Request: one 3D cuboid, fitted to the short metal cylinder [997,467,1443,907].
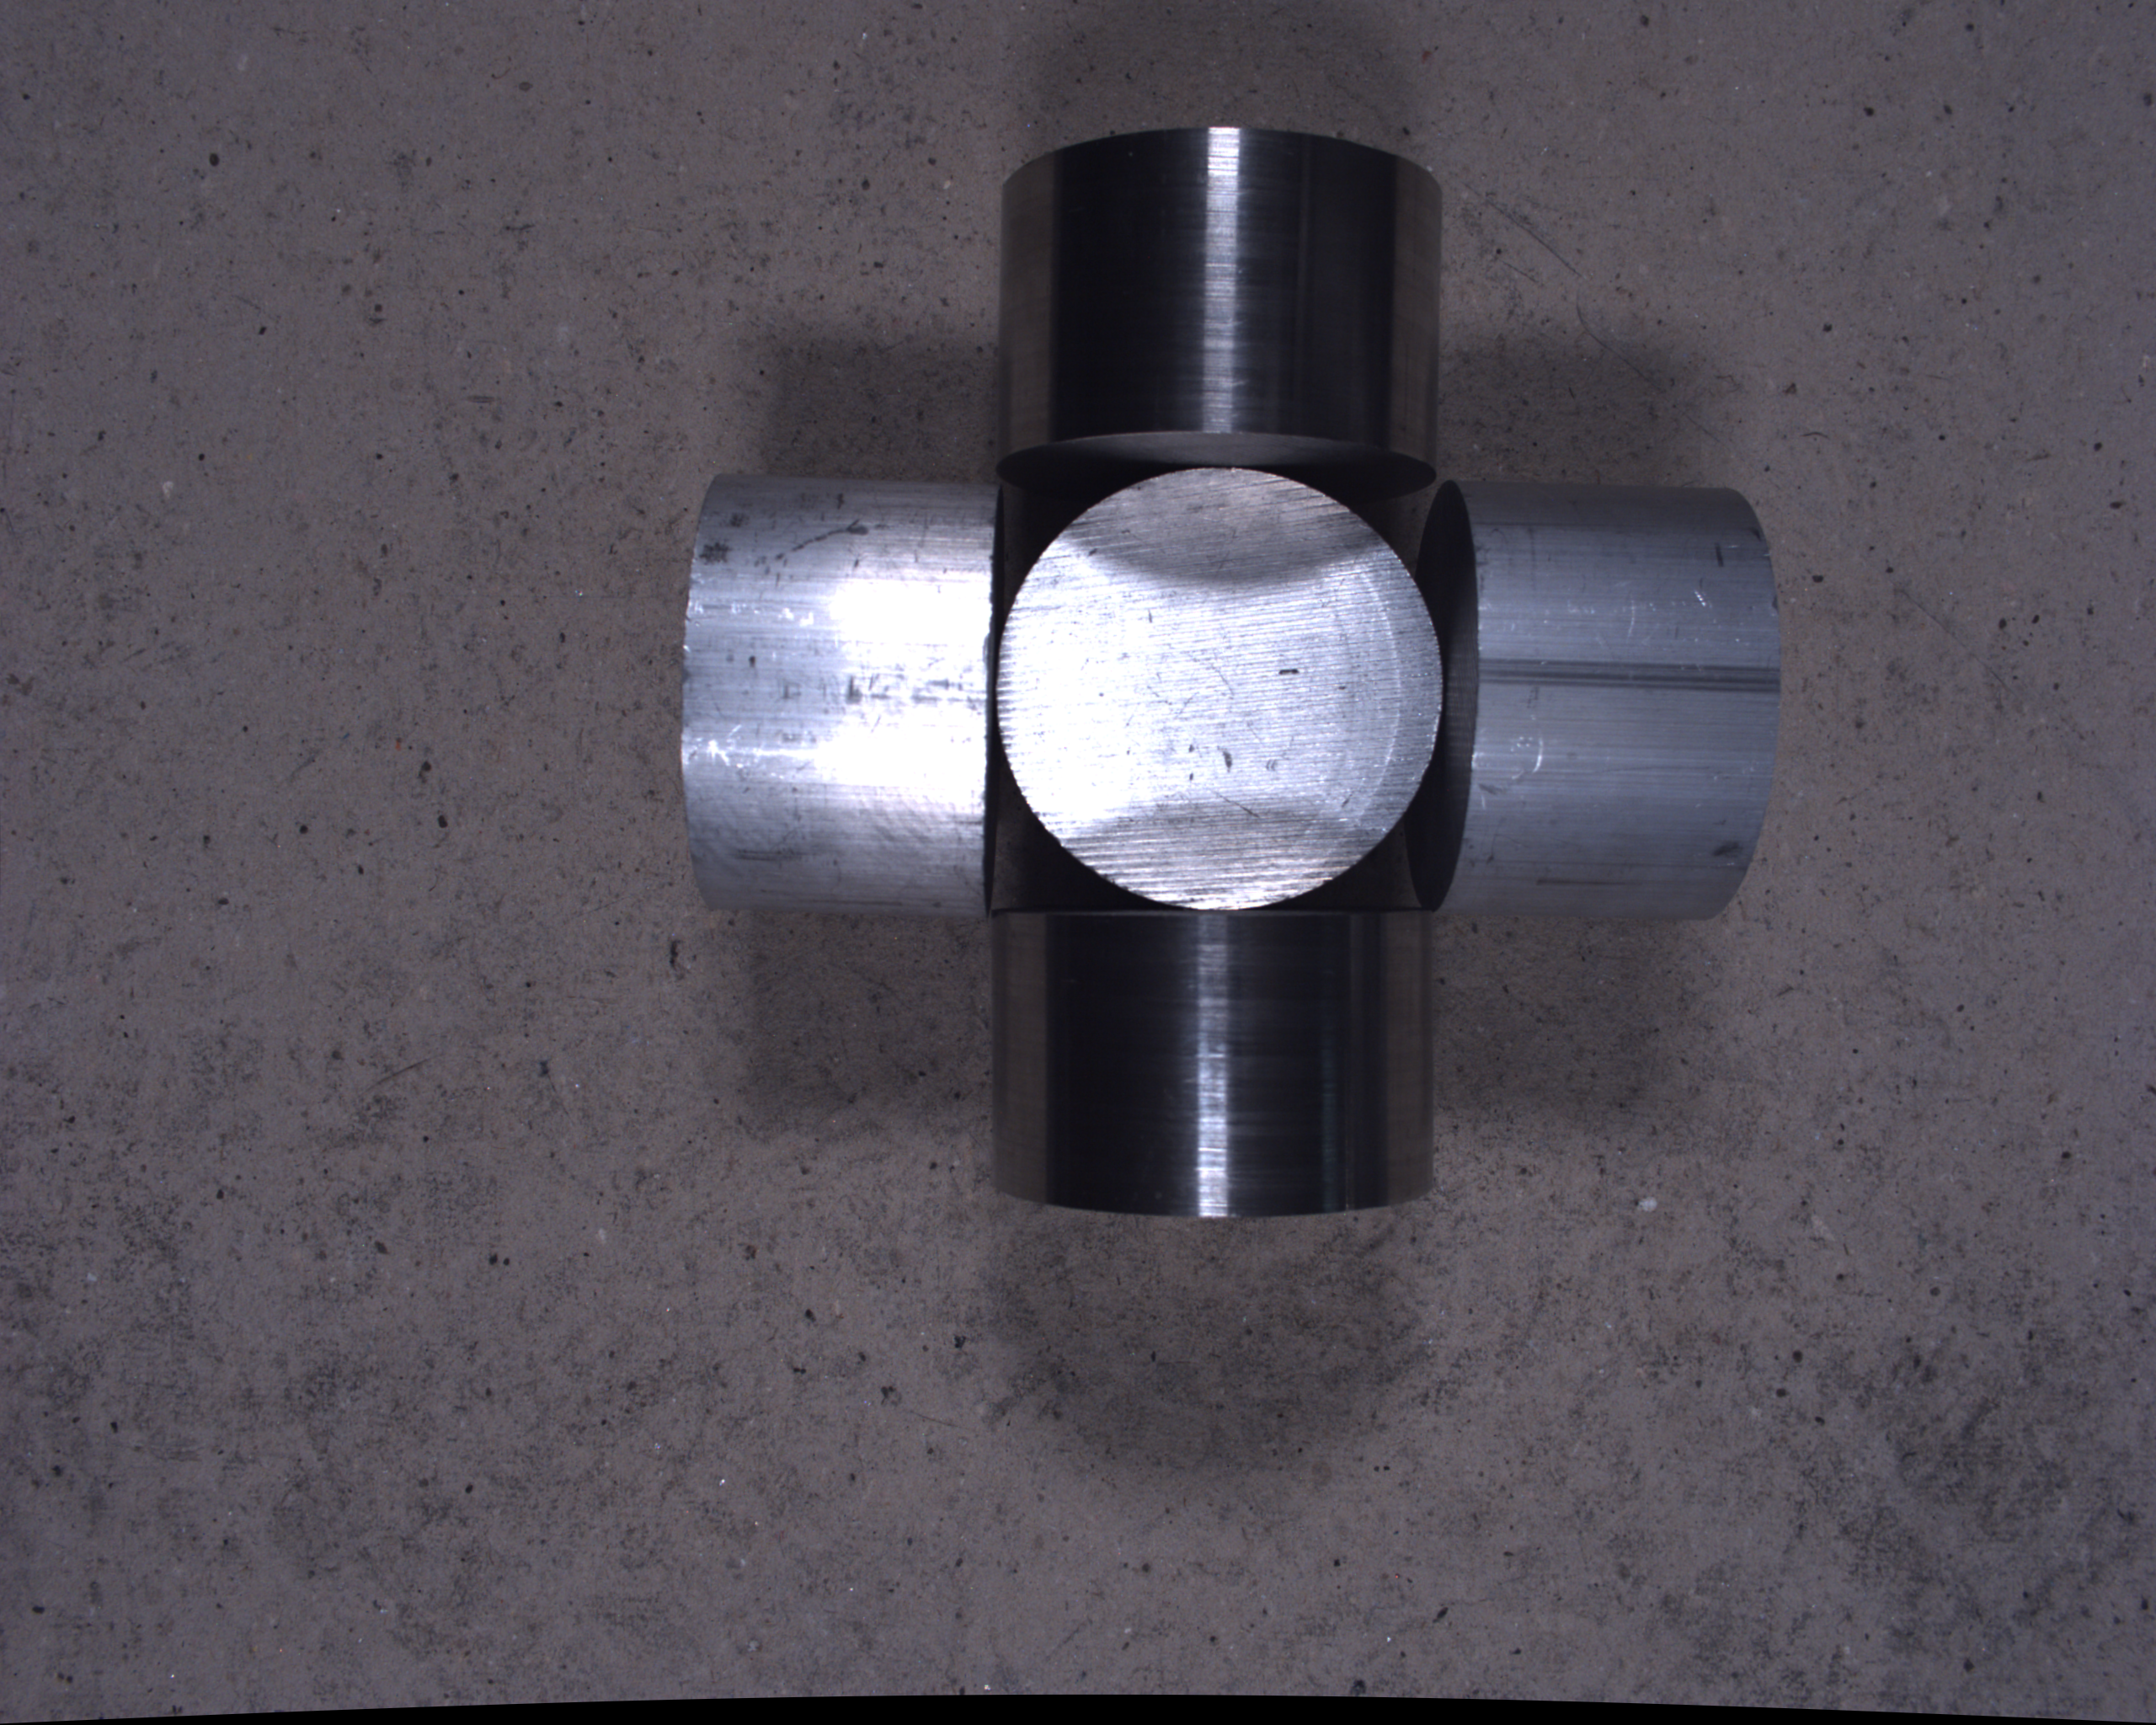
[{"bbox_3d":[0.025,-0.031,0.399,0.081,0.050,0.079,0,90,-1],"label":"short metal cylinder"}]

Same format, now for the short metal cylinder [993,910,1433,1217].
[{"bbox_3d":[0.025,0.034,0.384,0.081,0.080,0.050,0,90,-1],"label":"short metal cylinder"}]

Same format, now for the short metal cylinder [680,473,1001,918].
[{"bbox_3d":[-0.040,-0.030,0.383,0.050,0.080,0.079,2,90,0],"label":"short metal cylinder"}]

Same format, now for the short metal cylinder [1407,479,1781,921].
[{"bbox_3d":[0.091,-0.030,0.385,0.050,0.080,0.079,2,90,0],"label":"short metal cylinder"}]

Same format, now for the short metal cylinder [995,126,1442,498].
[{"bbox_3d":[0.026,-0.097,0.383,0.081,0.080,0.050,2,91,-1],"label":"short metal cylinder"}]
